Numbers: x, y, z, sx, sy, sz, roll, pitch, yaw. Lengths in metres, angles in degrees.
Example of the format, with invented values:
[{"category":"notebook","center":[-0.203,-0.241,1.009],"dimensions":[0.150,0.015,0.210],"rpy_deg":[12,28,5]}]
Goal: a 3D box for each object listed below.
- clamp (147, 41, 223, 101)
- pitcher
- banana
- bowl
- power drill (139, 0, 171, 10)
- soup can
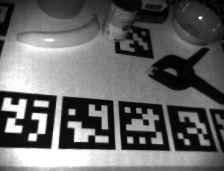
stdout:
[{"category":"clamp","center":[0.181,-0.044,0.515],"dimensions":[0.204,0.036,0.164],"rpy_deg":[4,65,-16]},{"category":"pitcher","center":[-0.080,-0.275,0.447],"dimensions":[0.190,0.242,0.132],"rpy_deg":[-18,65,-24]},{"category":"banana","center":[-0.105,-0.128,0.481],"dimensions":[0.199,0.039,0.073],"rpy_deg":[-18,60,-27]},{"category":"bowl","center":[0.236,-0.178,0.603],"dimensions":[0.163,0.055,0.161],"rpy_deg":[7,62,-13]},{"category":"power drill","center":[0.149,-0.279,0.532],"dimensions":[0.186,0.186,0.057],"rpy_deg":[1,61,-17]},{"category":"soup can","center":[0.022,-0.176,0.508],"dimensions":[0.068,0.102,0.067],"rpy_deg":[9,51,-10]}]
